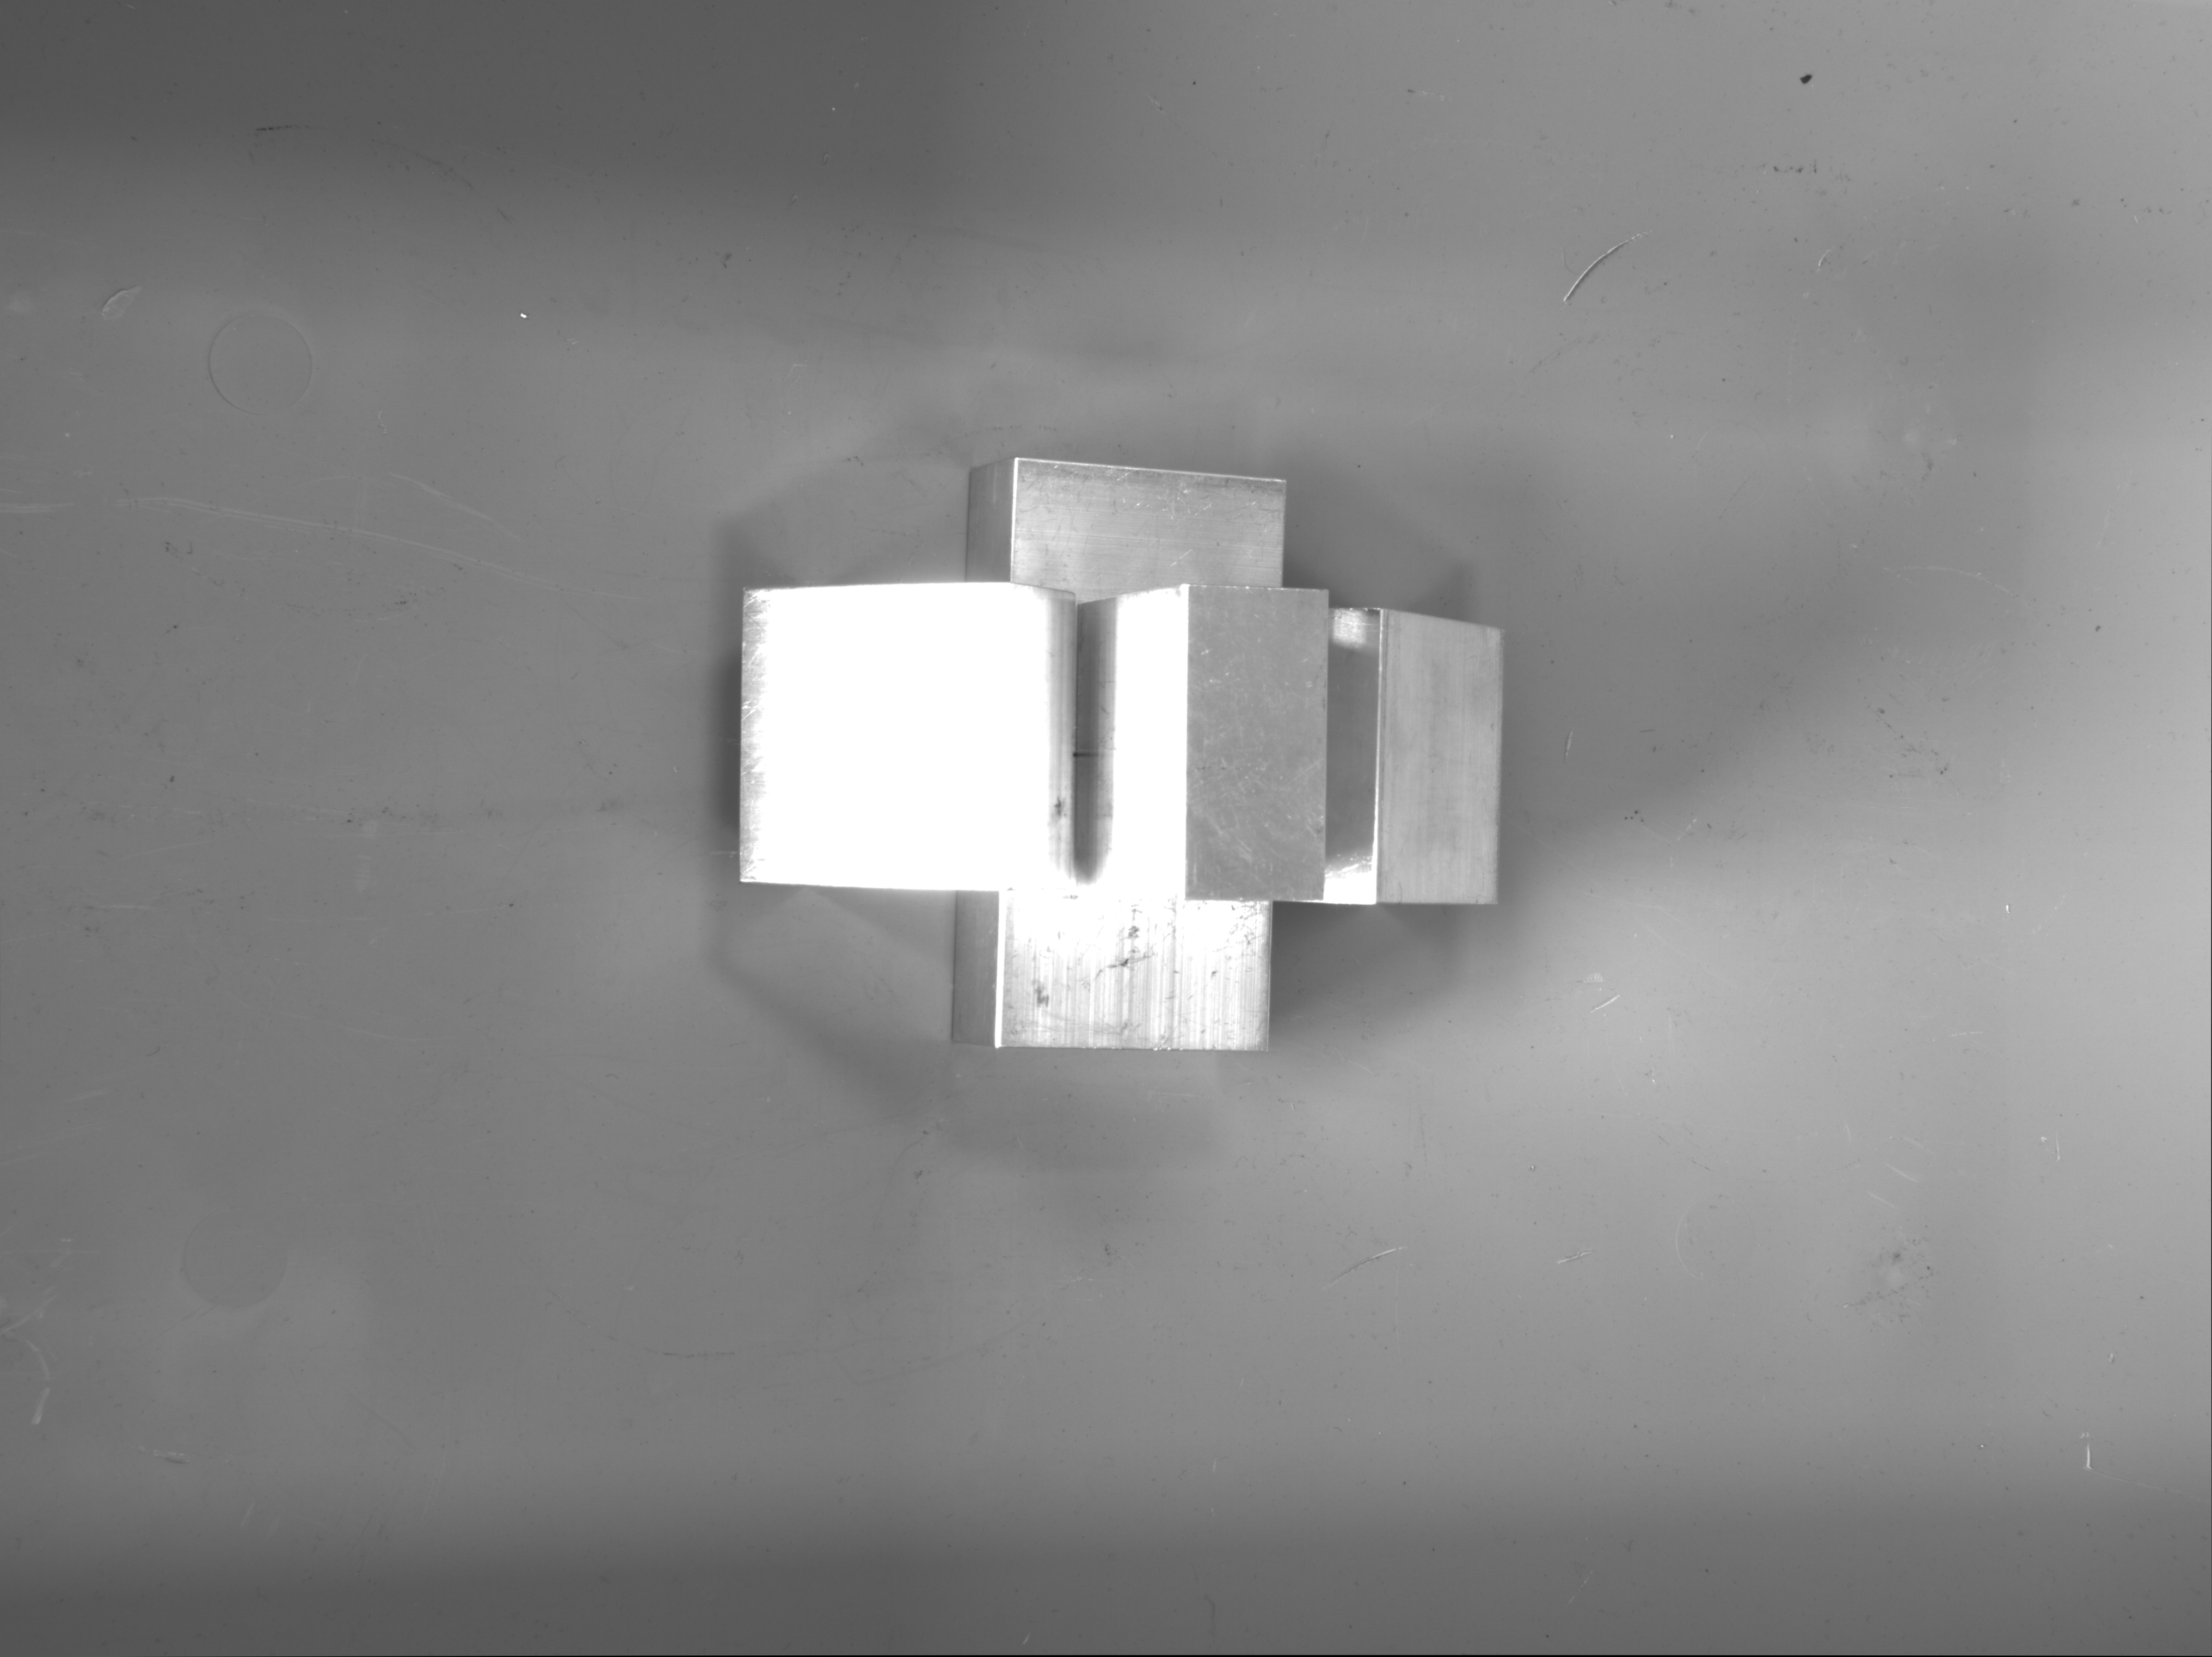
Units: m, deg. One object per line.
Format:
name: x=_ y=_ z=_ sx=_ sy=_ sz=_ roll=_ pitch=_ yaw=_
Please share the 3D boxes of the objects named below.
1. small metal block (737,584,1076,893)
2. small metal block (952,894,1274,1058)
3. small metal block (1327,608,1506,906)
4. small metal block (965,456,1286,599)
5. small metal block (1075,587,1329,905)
small metal block: x=-0.033 y=-0.015 z=0.615 sx=0.050 sy=0.025 sz=0.050 roll=1 pitch=90 yaw=24
small metal block: x=0.001 y=0.014 z=0.641 sx=0.050 sy=0.025 sz=0.050 roll=3 pitch=89 yaw=-20
small metal block: x=0.048 y=-0.012 z=0.646 sx=0.050 sy=0.025 sz=0.050 roll=3 pitch=89 yaw=-59
small metal block: x=0.003 y=-0.037 z=0.642 sx=0.050 sy=0.025 sz=0.050 roll=3 pitch=89 yaw=-21
small metal block: x=0.015 y=-0.013 z=0.606 sx=0.025 sy=0.050 sz=0.050 roll=1 pitch=90 yaw=-20
